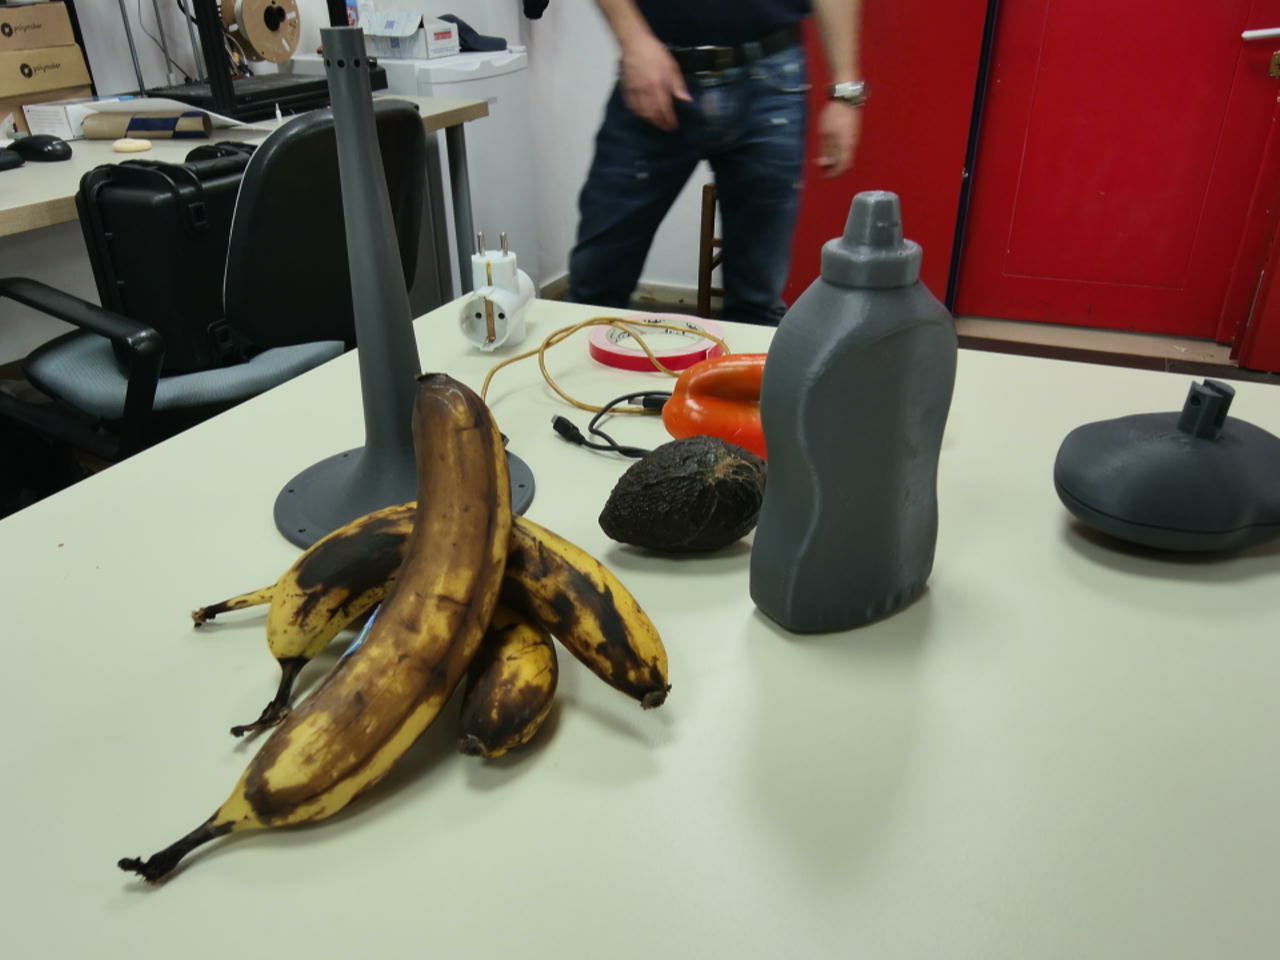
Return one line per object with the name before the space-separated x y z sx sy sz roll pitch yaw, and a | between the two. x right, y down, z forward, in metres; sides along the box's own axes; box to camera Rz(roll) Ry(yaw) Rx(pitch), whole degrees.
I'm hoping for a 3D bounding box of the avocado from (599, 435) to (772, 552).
avocado | 0.025 0.007 0.538 0.092 0.062 0.062 1 25 1
